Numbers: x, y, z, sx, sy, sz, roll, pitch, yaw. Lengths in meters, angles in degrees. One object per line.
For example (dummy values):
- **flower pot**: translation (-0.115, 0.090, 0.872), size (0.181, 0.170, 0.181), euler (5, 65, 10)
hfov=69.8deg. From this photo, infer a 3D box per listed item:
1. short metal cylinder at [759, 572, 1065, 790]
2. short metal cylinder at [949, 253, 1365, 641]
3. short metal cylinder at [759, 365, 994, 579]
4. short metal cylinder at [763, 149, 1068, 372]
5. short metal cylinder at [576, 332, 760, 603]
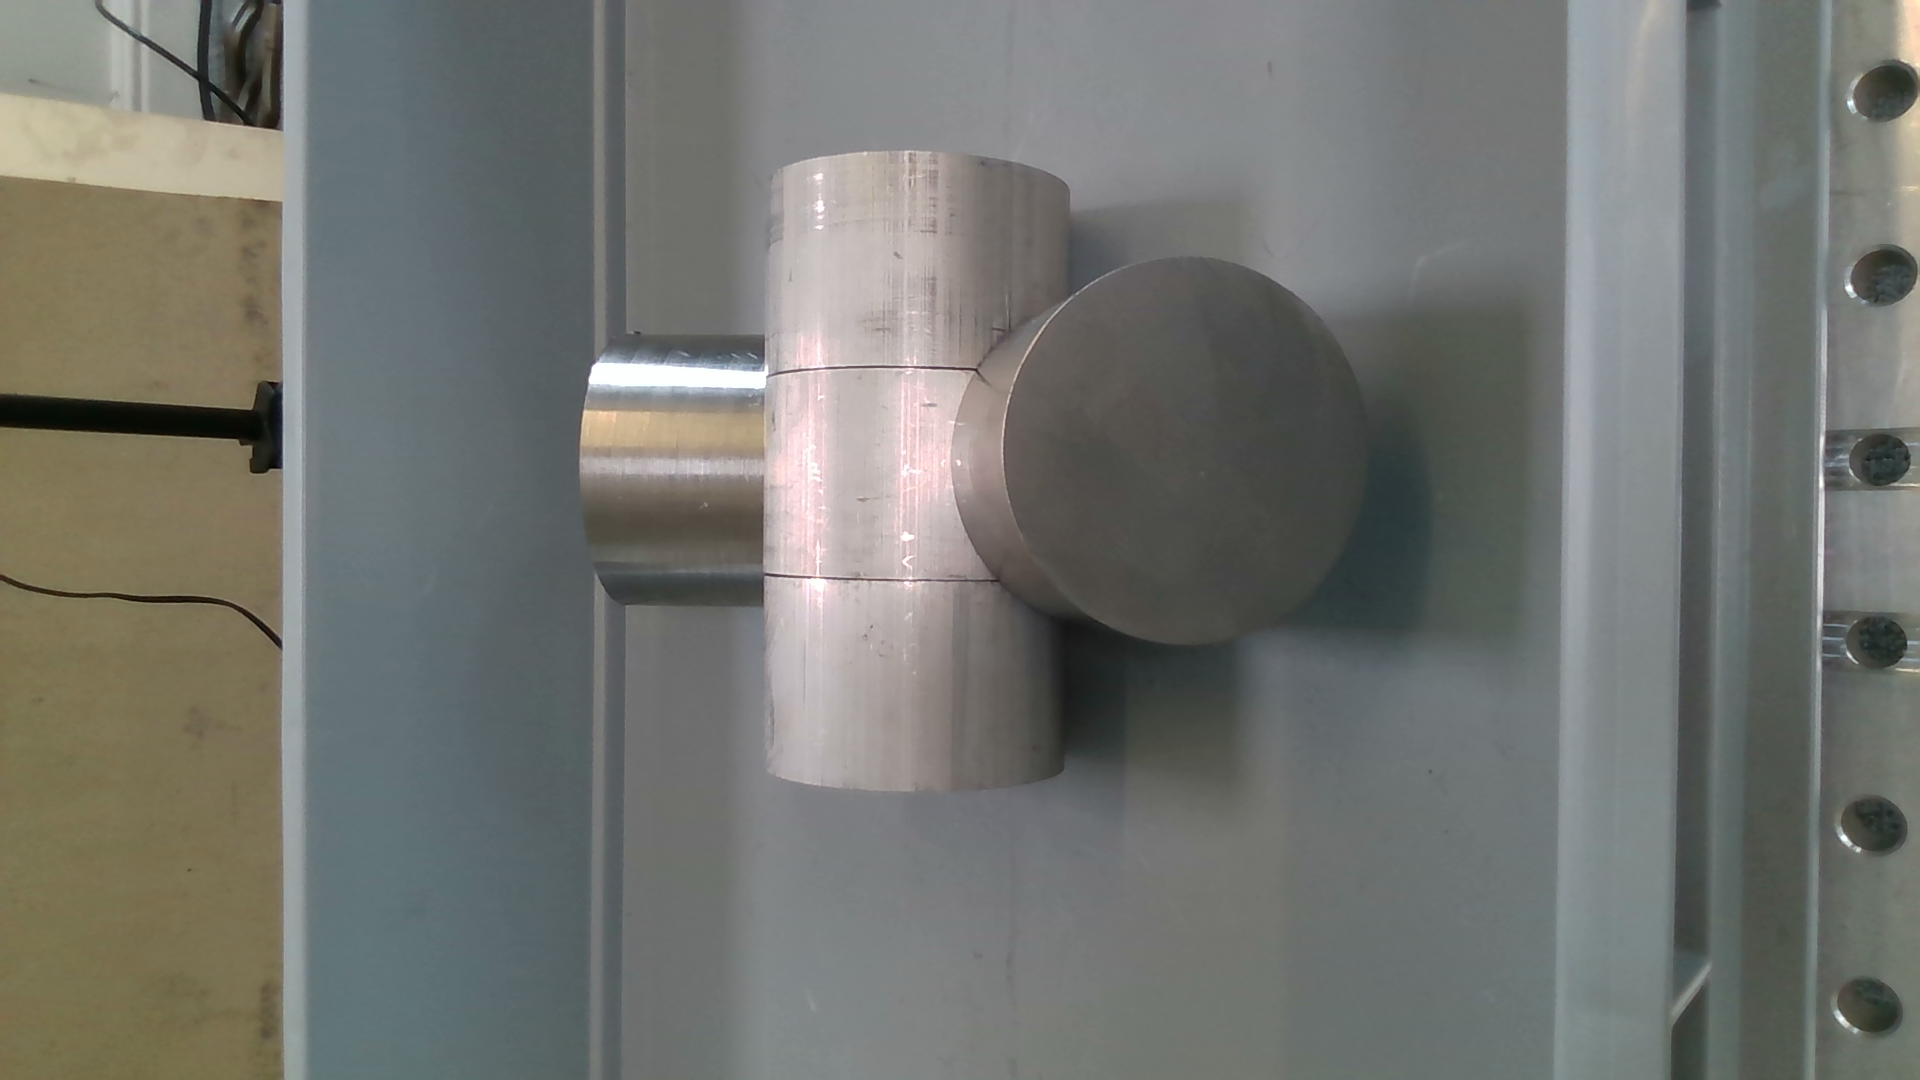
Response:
- **short metal cylinder**: translation (-0.013, 0.034, 0.364), size (0.080, 0.080, 0.050), euler (2, 91, 40)
- **short metal cylinder**: translation (0.042, -0.020, 0.308), size (0.050, 0.080, 0.080), euler (-172, 83, -78)
- **short metal cylinder**: translation (-0.012, -0.016, 0.363), size (0.080, 0.080, 0.050), euler (2, 91, 40)
- **short metal cylinder**: translation (-0.012, -0.067, 0.363), size (0.080, 0.080, 0.050), euler (2, 91, 40)
- **short metal cylinder**: translation (-0.074, -0.021, 0.406), size (0.050, 0.080, 0.080), euler (0, 90, 6)
